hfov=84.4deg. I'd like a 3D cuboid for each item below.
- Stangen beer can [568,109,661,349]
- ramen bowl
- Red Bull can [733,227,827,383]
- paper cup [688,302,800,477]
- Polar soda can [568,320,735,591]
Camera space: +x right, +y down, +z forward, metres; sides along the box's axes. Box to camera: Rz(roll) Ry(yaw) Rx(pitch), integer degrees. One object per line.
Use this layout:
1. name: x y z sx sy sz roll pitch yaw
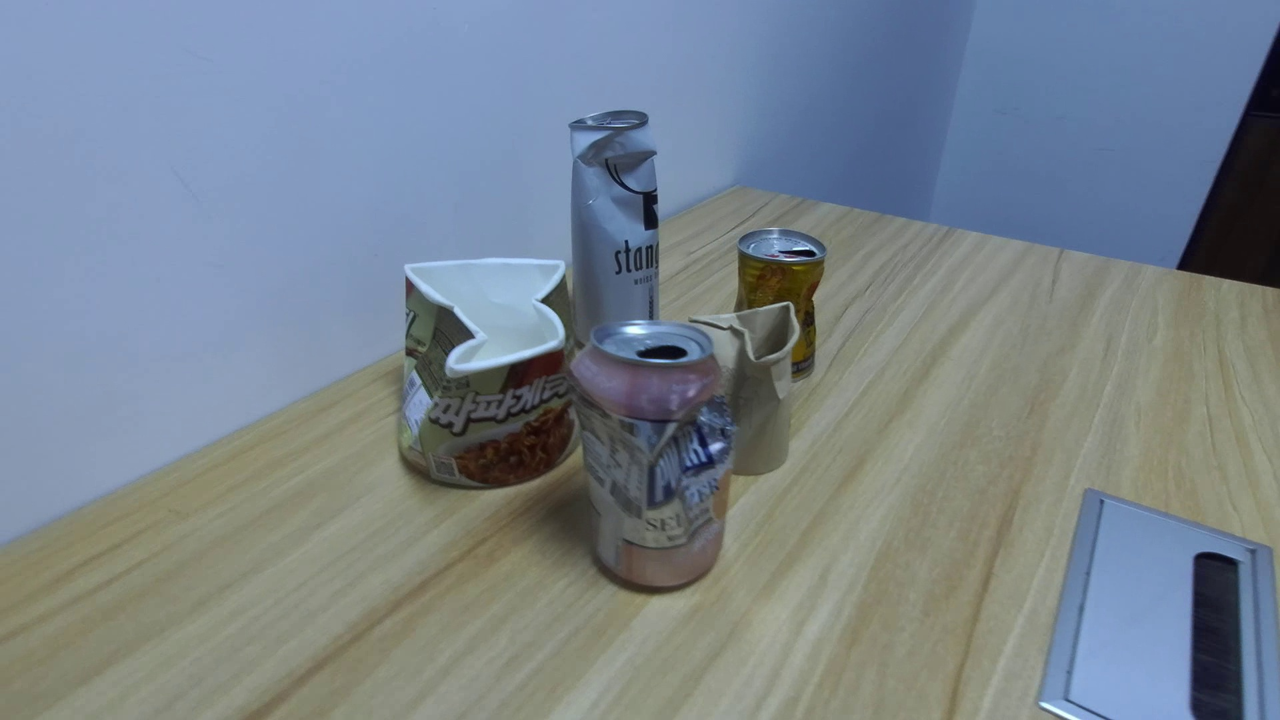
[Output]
1. Stangen beer can: -0.019 -0.088 0.505 0.066 0.166 0.066 -10 34 -13
2. ramen bowl: -0.090 0.009 0.413 0.111 0.093 0.128 -2 32 -5
3. Red Bull can: 0.095 -0.038 0.492 0.072 0.092 0.072 2 31 -1
4. paper cup: 0.058 0.017 0.406 0.058 0.083 0.066 2 29 6
5. Polar soda can: 0.008 0.043 0.338 0.071 0.122 0.066 -20 28 -37
